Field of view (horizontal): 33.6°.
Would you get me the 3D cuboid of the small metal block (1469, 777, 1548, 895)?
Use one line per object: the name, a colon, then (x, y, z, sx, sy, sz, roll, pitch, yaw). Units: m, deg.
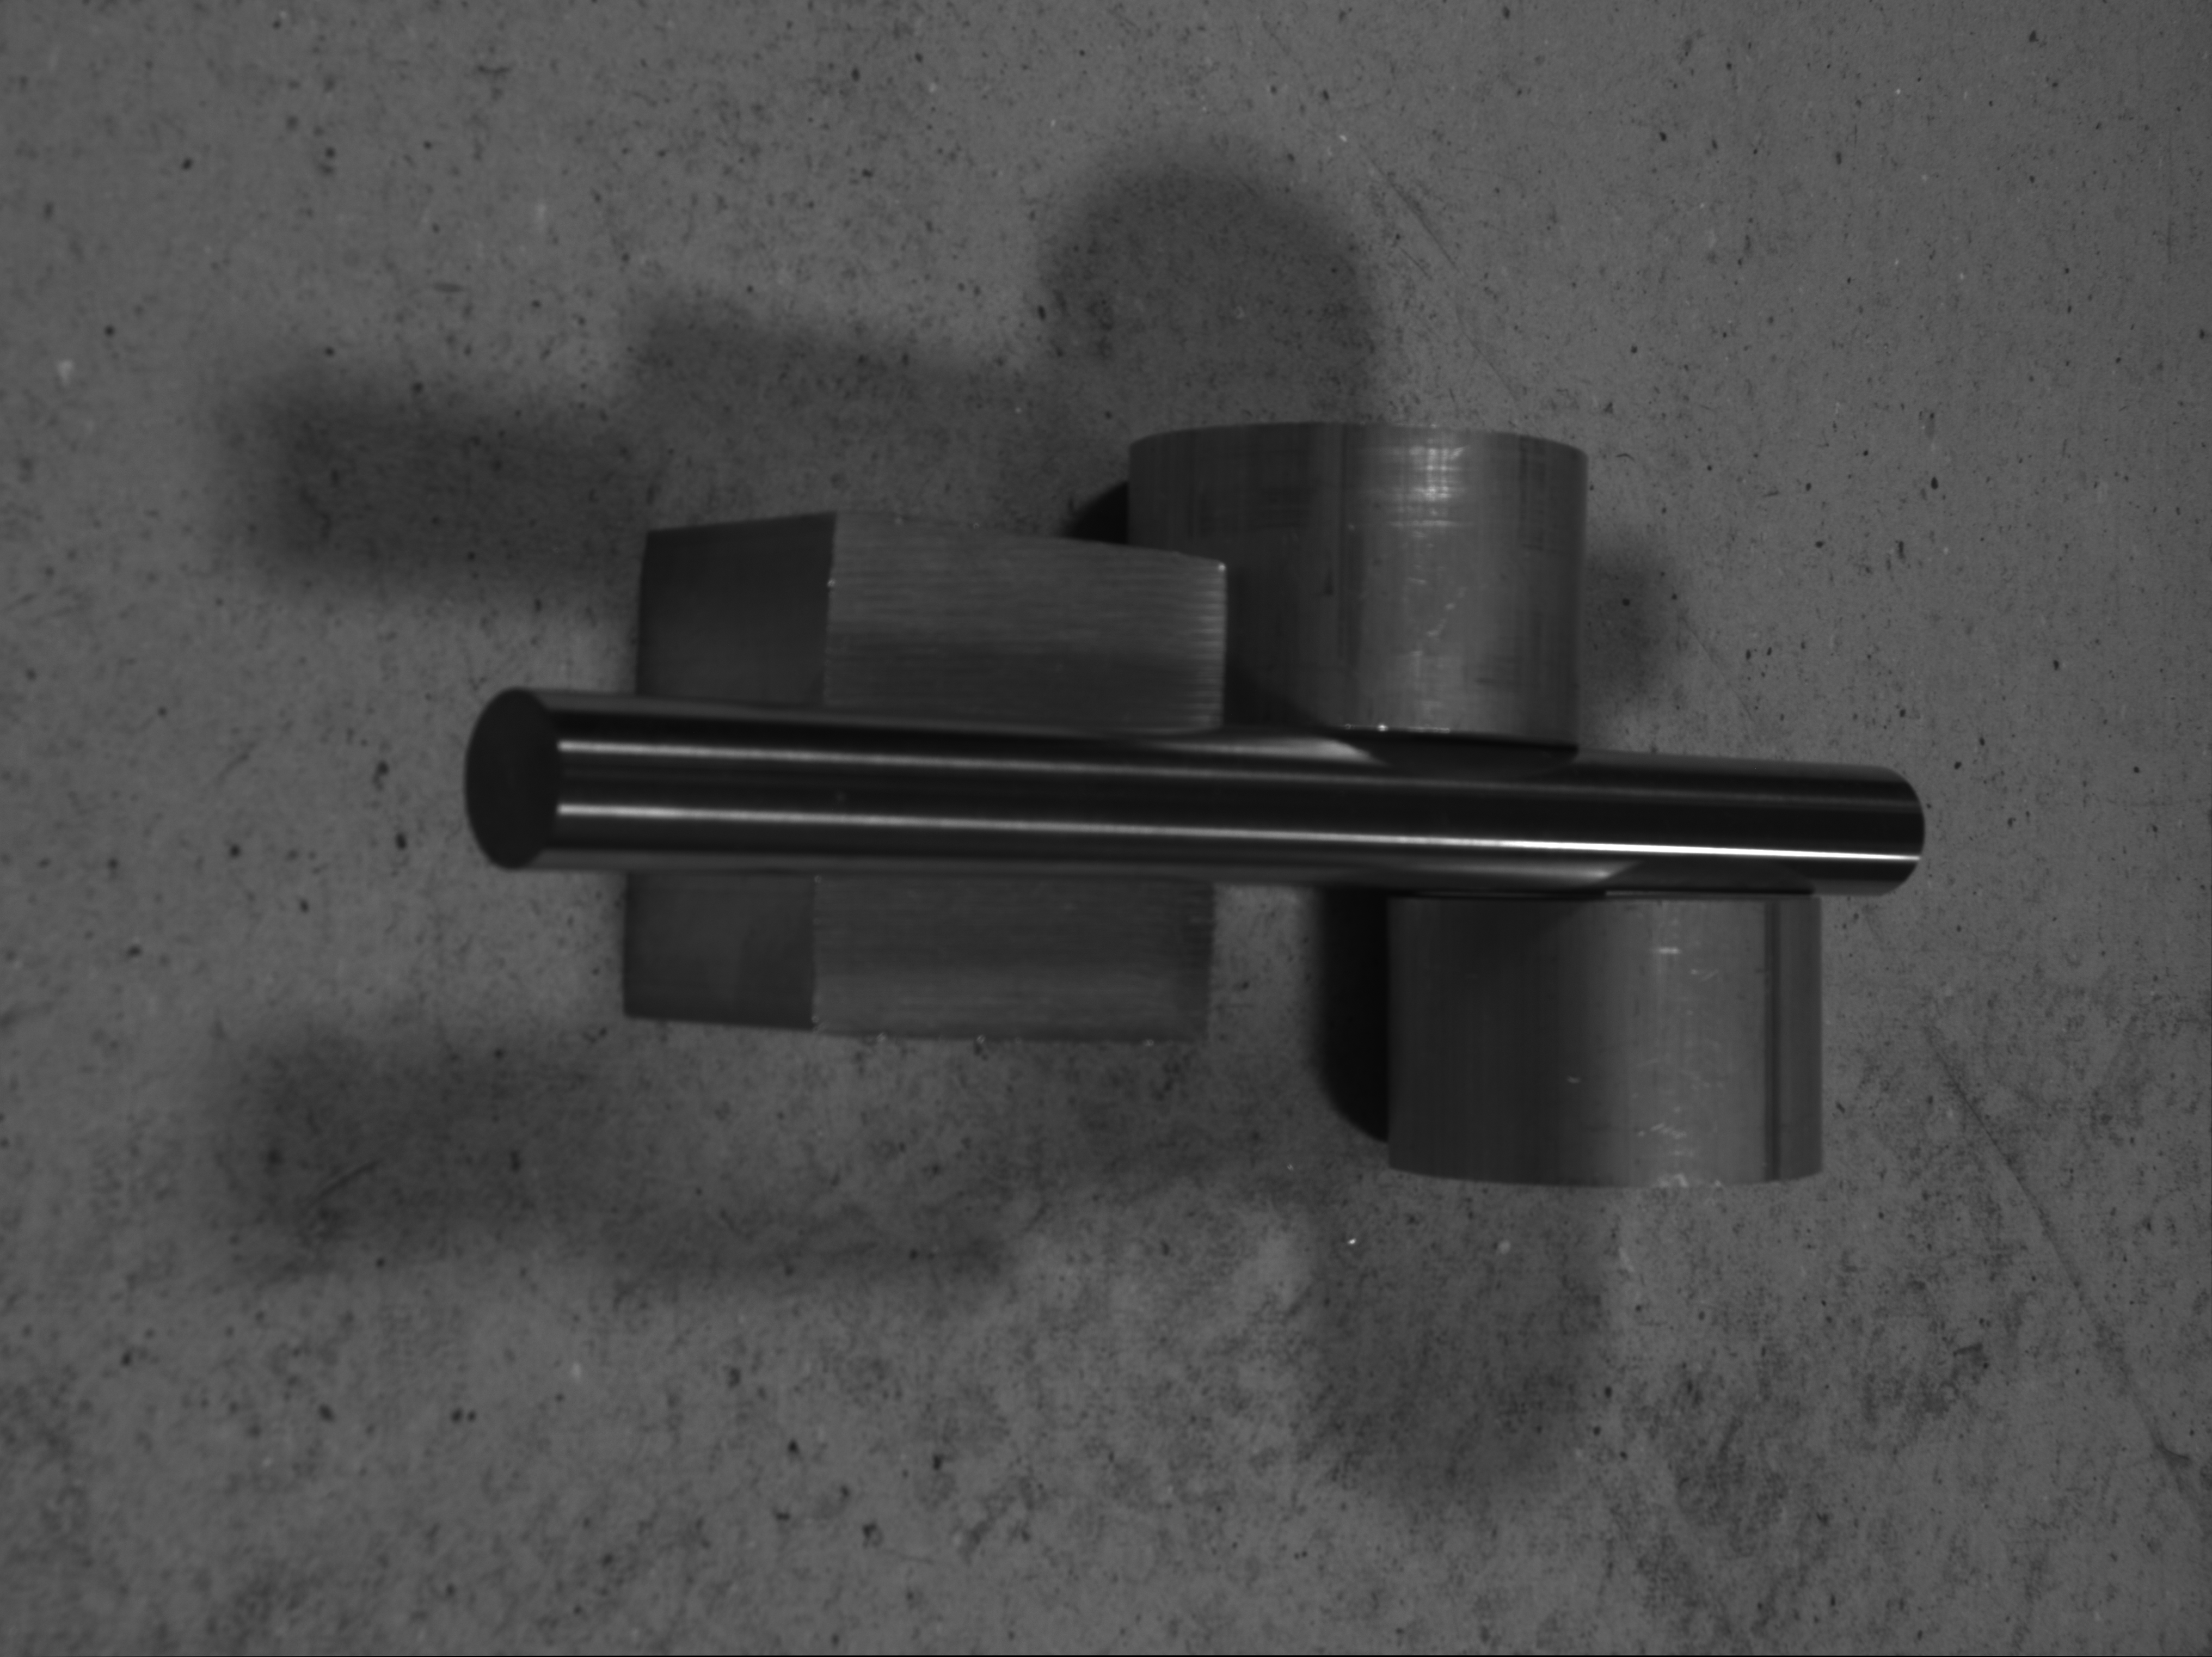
small metal block: (0.059, -0.001, 0.669, 0.050, 0.050, 0.025, 2, 89, -40)

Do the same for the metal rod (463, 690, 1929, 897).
metal rod: (0.033, -0.003, 0.598, 0.301, 0.025, 0.025, 2, 89, -41)

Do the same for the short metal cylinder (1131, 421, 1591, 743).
short metal cylinder: (0.044, -0.041, 0.639, 0.080, 0.080, 0.050, 3, 88, -40)

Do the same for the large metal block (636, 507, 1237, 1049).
large metal block: (-0.027, -0.006, 0.595, 0.080, 0.050, 0.080, 4, 87, -40)

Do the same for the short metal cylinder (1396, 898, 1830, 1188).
short metal cylinder: (0.094, 0.038, 0.679, 0.080, 0.080, 0.050, 0, 90, -40)
